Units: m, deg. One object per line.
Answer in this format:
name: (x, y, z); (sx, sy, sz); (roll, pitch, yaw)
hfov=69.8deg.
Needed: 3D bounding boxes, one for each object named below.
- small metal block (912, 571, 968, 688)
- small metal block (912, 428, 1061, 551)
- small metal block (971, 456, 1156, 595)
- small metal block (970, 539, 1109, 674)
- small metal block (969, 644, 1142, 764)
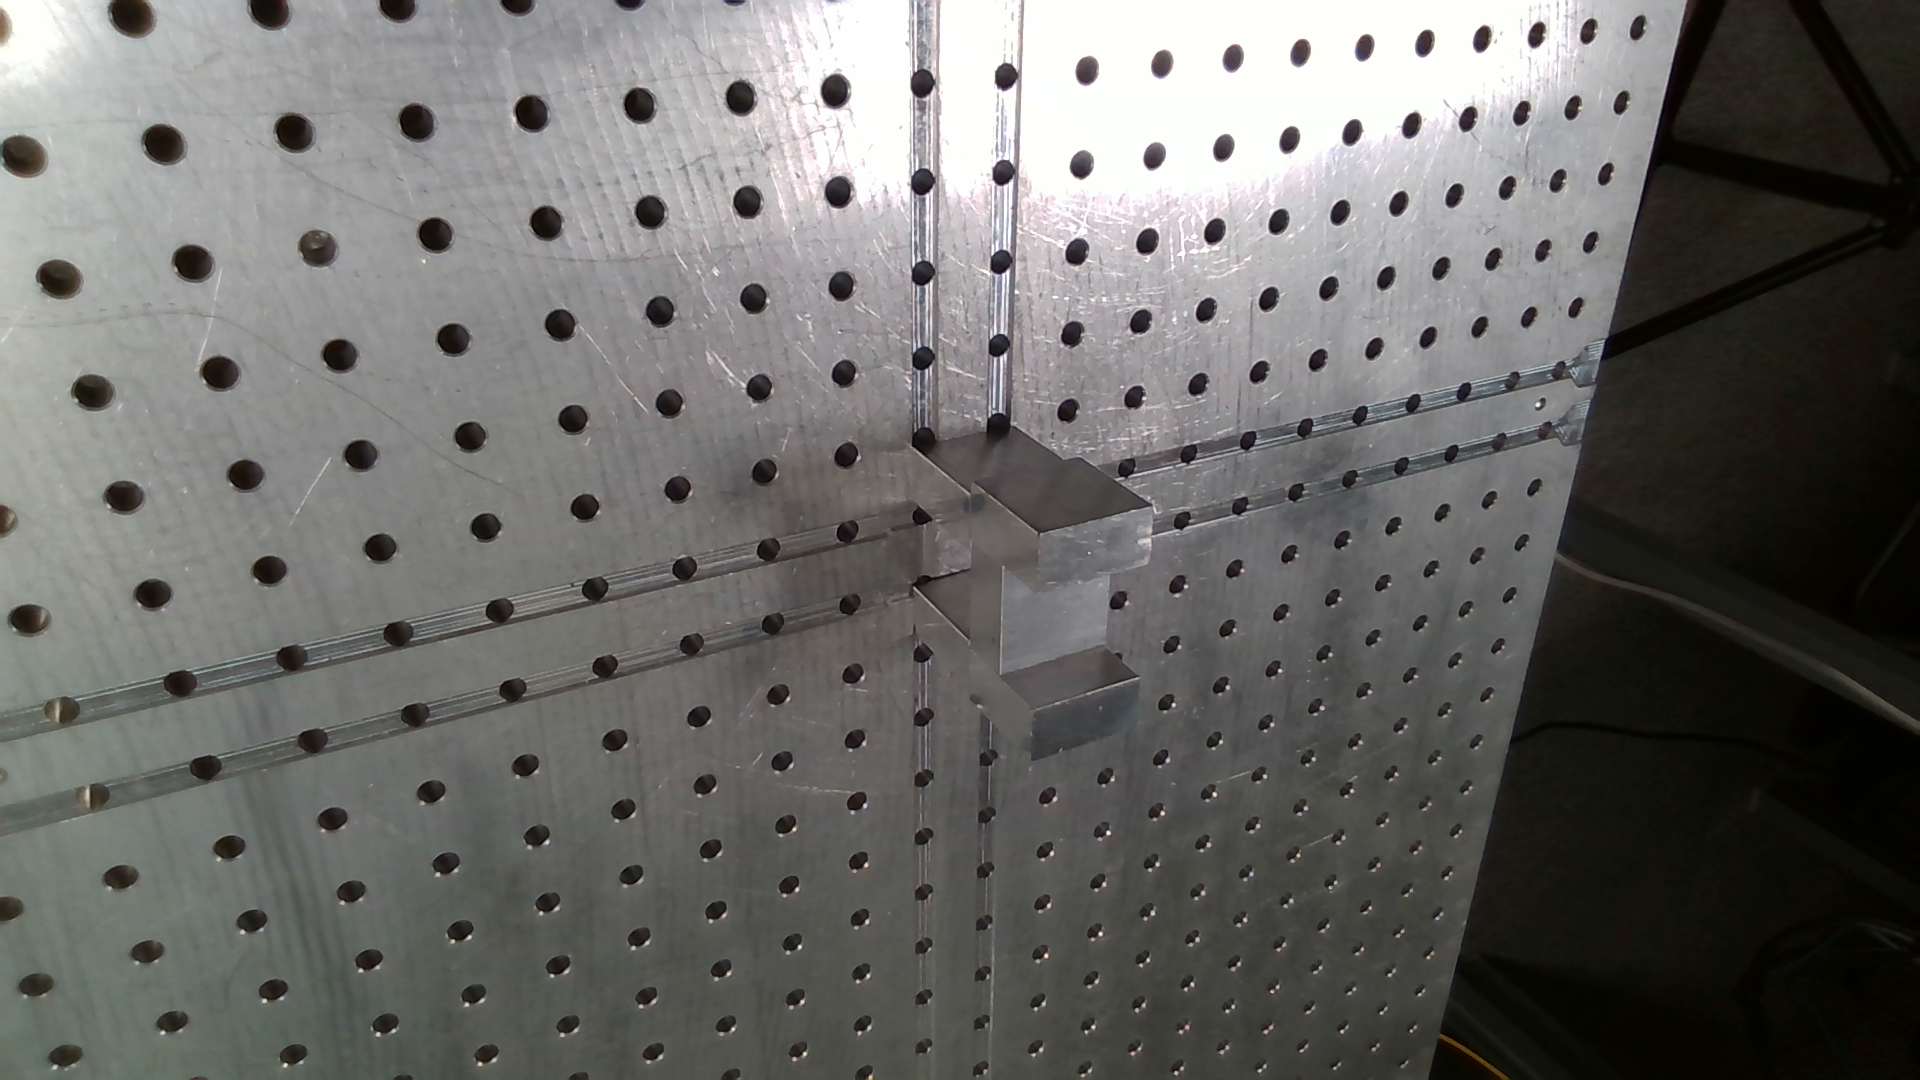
small metal block: (0.013, 0.034, 0.594); (0.050, 0.050, 0.025); (-15, 122, -24)
small metal block: (0.014, -0.023, 0.563); (0.050, 0.050, 0.025); (-14, 121, -25)
small metal block: (0.038, -0.007, 0.522); (0.050, 0.050, 0.025); (-14, 121, -26)
small metal block: (0.032, 0.020, 0.551); (0.050, 0.025, 0.050); (-14, 121, -25)
small metal block: (0.038, 0.060, 0.557); (0.050, 0.050, 0.025); (-14, 121, -26)
